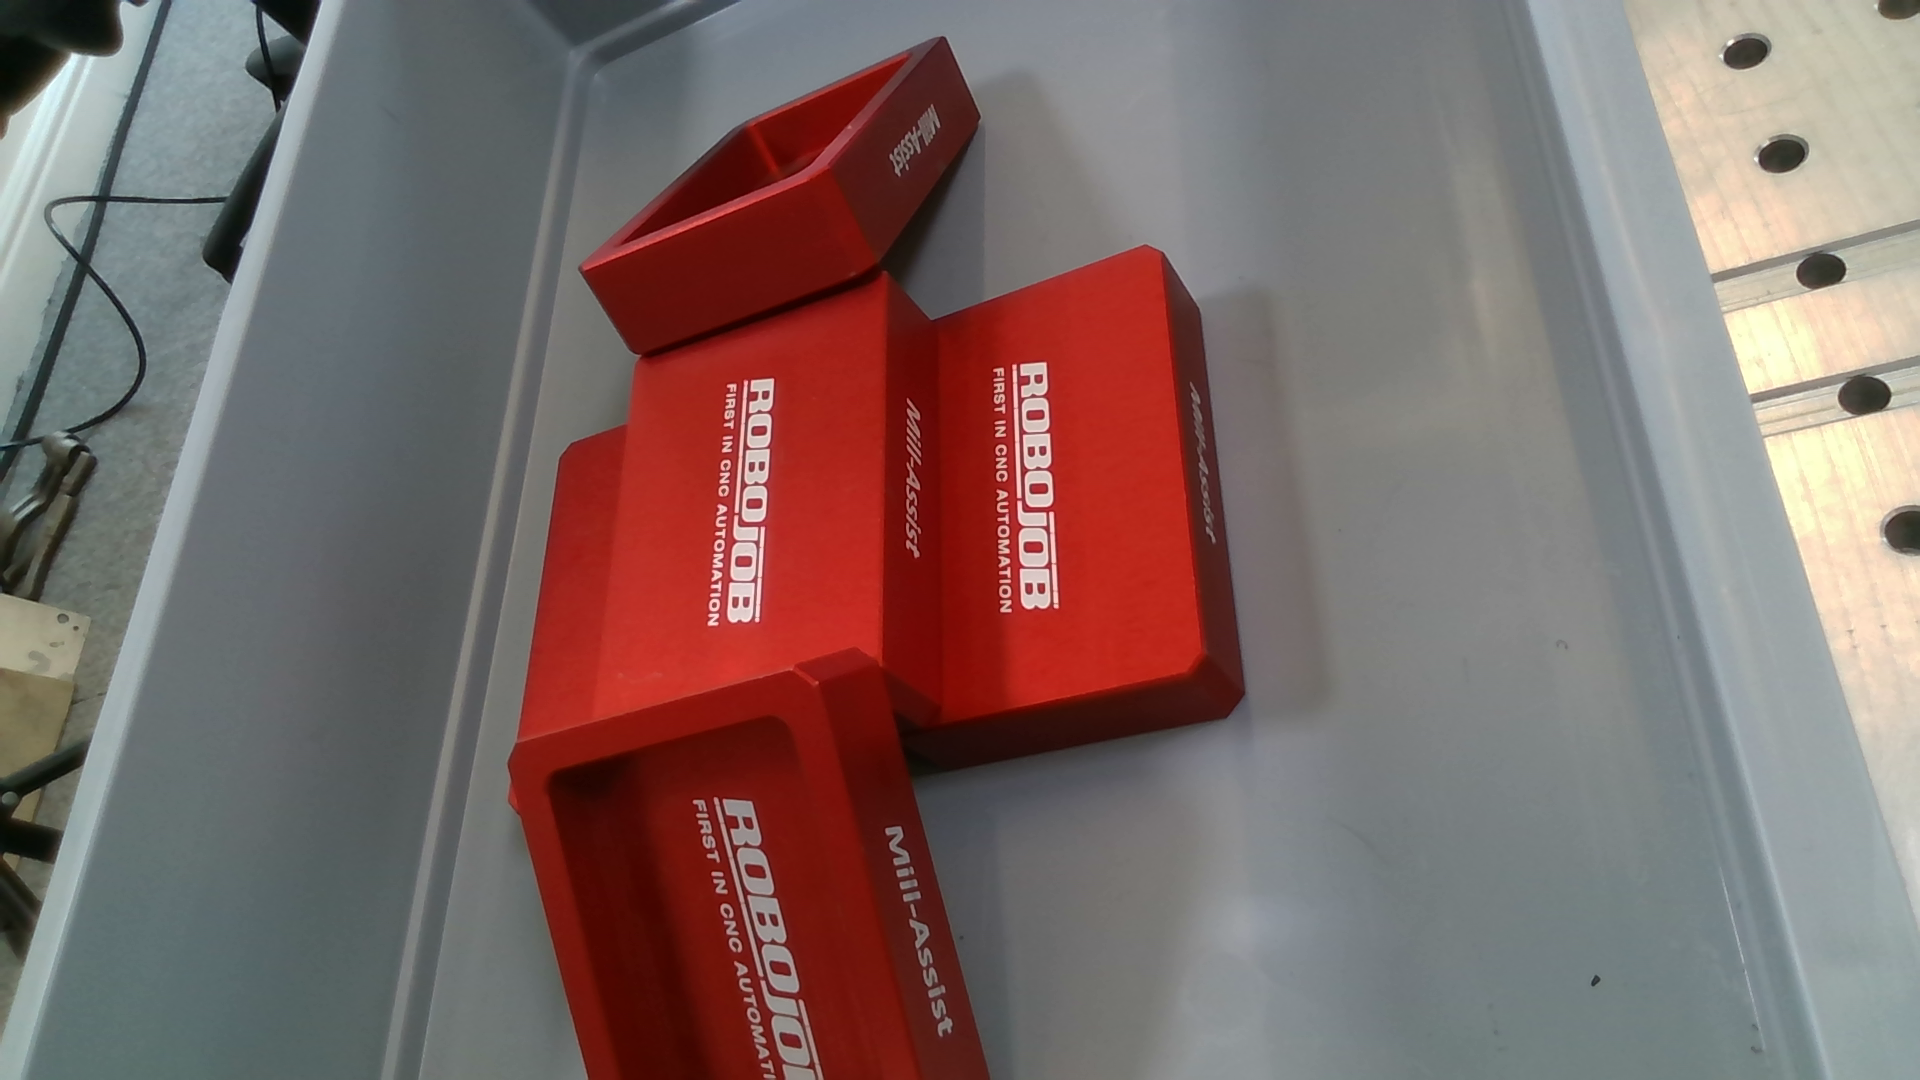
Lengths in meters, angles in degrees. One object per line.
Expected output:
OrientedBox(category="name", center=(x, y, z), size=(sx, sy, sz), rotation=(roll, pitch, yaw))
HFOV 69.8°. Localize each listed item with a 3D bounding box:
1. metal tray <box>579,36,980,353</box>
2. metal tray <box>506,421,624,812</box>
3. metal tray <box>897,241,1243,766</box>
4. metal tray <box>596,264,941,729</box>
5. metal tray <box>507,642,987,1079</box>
OrientedBox(category="metal tray", center=(-0.053, -0.114, 0.442), size=(0.090, 0.030, 0.130), rotation=(-14, 29, 26))
OrientedBox(category="metal tray", center=(-0.090, 0.019, 0.432), size=(0.090, 0.030, 0.130), rotation=(-15, 59, 25))
OrientedBox(category="metal tray", center=(0.024, -0.011, 0.378), size=(0.090, 0.030, 0.130), rotation=(-15, 59, 25))
OrientedBox(category="metal tray", center=(-0.053, -0.006, 0.385), size=(0.090, 0.030, 0.130), rotation=(-16, 59, 24))
OrientedBox(category="metal tray", center=(-0.049, 0.098, 0.326), size=(0.090, 0.030, 0.130), rotation=(-16, 87, 24))
